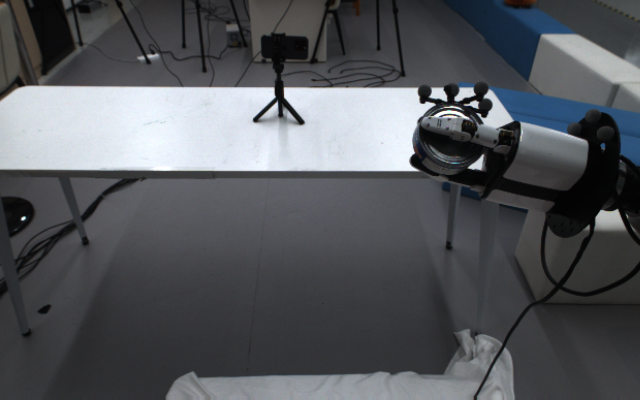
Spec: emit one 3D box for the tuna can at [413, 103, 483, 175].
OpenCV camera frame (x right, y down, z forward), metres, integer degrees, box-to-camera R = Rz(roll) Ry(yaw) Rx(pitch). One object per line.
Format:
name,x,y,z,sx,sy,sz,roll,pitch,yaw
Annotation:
tuna can,0.162,-0.079,0.605,0.085,0.034,0.085,1,73,-4
